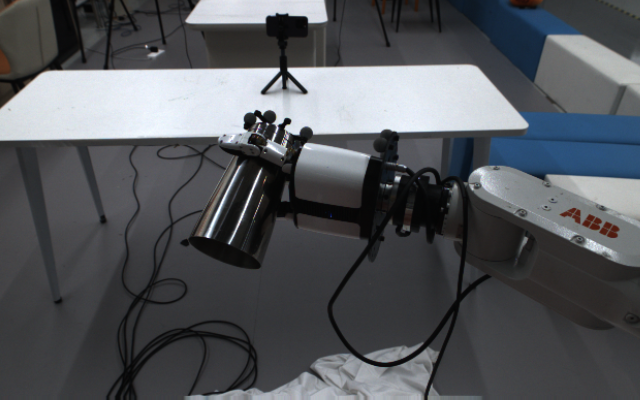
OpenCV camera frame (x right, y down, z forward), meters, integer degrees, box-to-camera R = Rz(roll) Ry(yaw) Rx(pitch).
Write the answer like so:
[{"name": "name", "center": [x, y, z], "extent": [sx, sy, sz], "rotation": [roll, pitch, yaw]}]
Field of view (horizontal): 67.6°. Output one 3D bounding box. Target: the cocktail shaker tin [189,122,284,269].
[{"name": "cocktail shaker tin", "center": [-0.085, -0.013, 0.605], "extent": [0.093, 0.093, 0.170], "rotation": [12, 65, 14]}]
